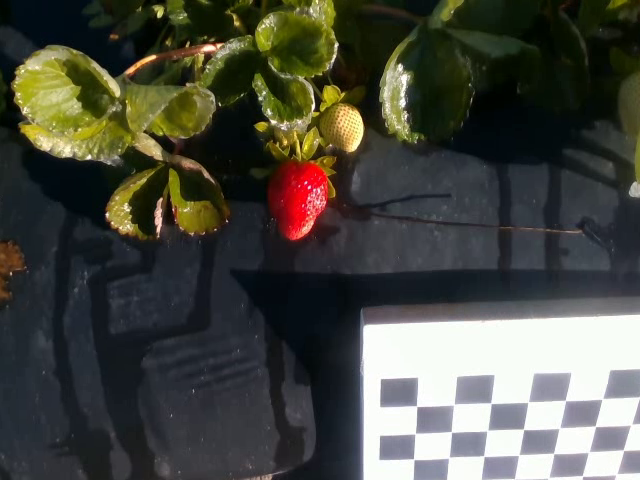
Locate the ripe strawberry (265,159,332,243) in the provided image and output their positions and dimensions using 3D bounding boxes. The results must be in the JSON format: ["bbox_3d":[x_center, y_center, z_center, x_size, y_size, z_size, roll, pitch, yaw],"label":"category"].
[{"bbox_3d":[-0.009,-0.014,0.280,0.039,0.039,0.040,-6,-36,13],"label":"ripe strawberry"}]
